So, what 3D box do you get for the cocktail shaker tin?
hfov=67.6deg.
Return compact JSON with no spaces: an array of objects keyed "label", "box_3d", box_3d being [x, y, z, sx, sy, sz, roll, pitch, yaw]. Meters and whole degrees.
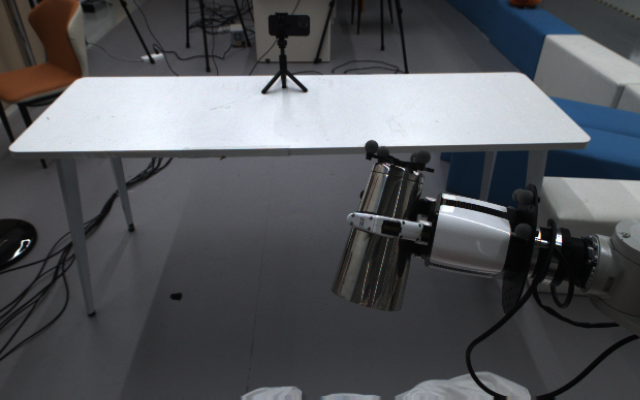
[{"label":"cocktail shaker tin","box_3d":[0.079,0.043,0.614,0.093,0.170,0.093,14,2,0]}]
